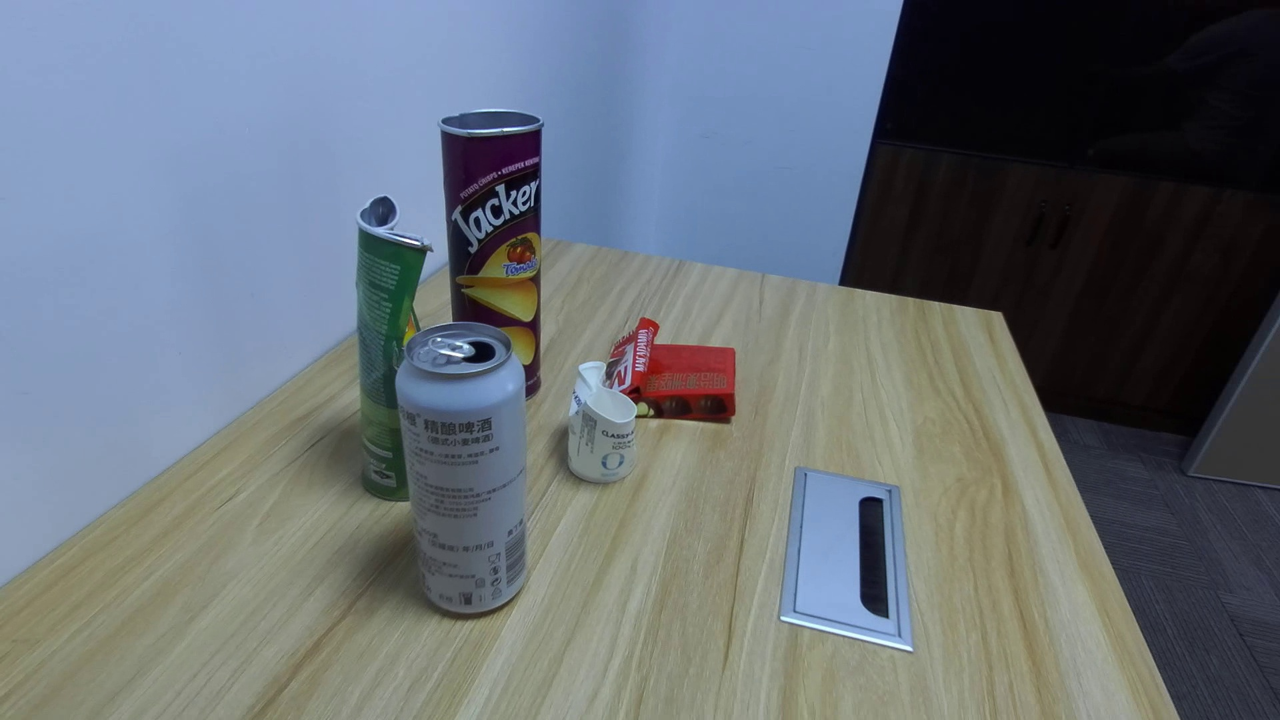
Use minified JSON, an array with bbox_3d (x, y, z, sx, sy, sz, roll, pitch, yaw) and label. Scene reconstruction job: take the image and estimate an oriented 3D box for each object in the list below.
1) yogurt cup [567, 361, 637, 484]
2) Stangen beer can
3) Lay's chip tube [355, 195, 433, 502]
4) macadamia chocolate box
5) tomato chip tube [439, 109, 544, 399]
[{"bbox_3d":[-0.027,0.050,0.537,0.075,0.071,0.054,29,38,35],"label":"yogurt cup"},{"bbox_3d":[-0.099,0.066,0.405,0.067,0.171,0.067,3,29,-1],"label":"Stangen beer can"},{"bbox_3d":[-0.167,-0.005,0.487,0.077,0.201,0.069,23,36,22],"label":"Lay's chip tube"},{"bbox_3d":[0.026,0.017,0.645,0.126,0.056,0.112,10,45,4],"label":"macadamia chocolate box"},{"bbox_3d":[-0.118,-0.079,0.586,0.080,0.234,0.076,-6,31,-18],"label":"tomato chip tube"}]
